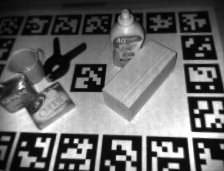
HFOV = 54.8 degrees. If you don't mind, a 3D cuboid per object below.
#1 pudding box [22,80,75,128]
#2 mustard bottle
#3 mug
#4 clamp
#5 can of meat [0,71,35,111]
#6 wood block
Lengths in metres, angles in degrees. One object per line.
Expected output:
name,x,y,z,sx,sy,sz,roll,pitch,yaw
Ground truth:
pudding box,-0.175,0.049,0.606,0.114,0.039,0.089,-37,65,-15
mustard bottle,0.029,-0.144,0.601,0.096,0.193,0.058,-7,62,4
mug,-0.258,-0.062,0.674,0.092,0.082,0.117,19,67,15
clamp,-0.174,-0.097,0.690,0.121,0.037,0.165,17,67,12
can of meat,-0.275,0.020,0.600,0.102,0.084,0.057,-29,63,-9
wood block,0.073,-0.028,0.598,0.089,0.091,0.207,33,68,23
